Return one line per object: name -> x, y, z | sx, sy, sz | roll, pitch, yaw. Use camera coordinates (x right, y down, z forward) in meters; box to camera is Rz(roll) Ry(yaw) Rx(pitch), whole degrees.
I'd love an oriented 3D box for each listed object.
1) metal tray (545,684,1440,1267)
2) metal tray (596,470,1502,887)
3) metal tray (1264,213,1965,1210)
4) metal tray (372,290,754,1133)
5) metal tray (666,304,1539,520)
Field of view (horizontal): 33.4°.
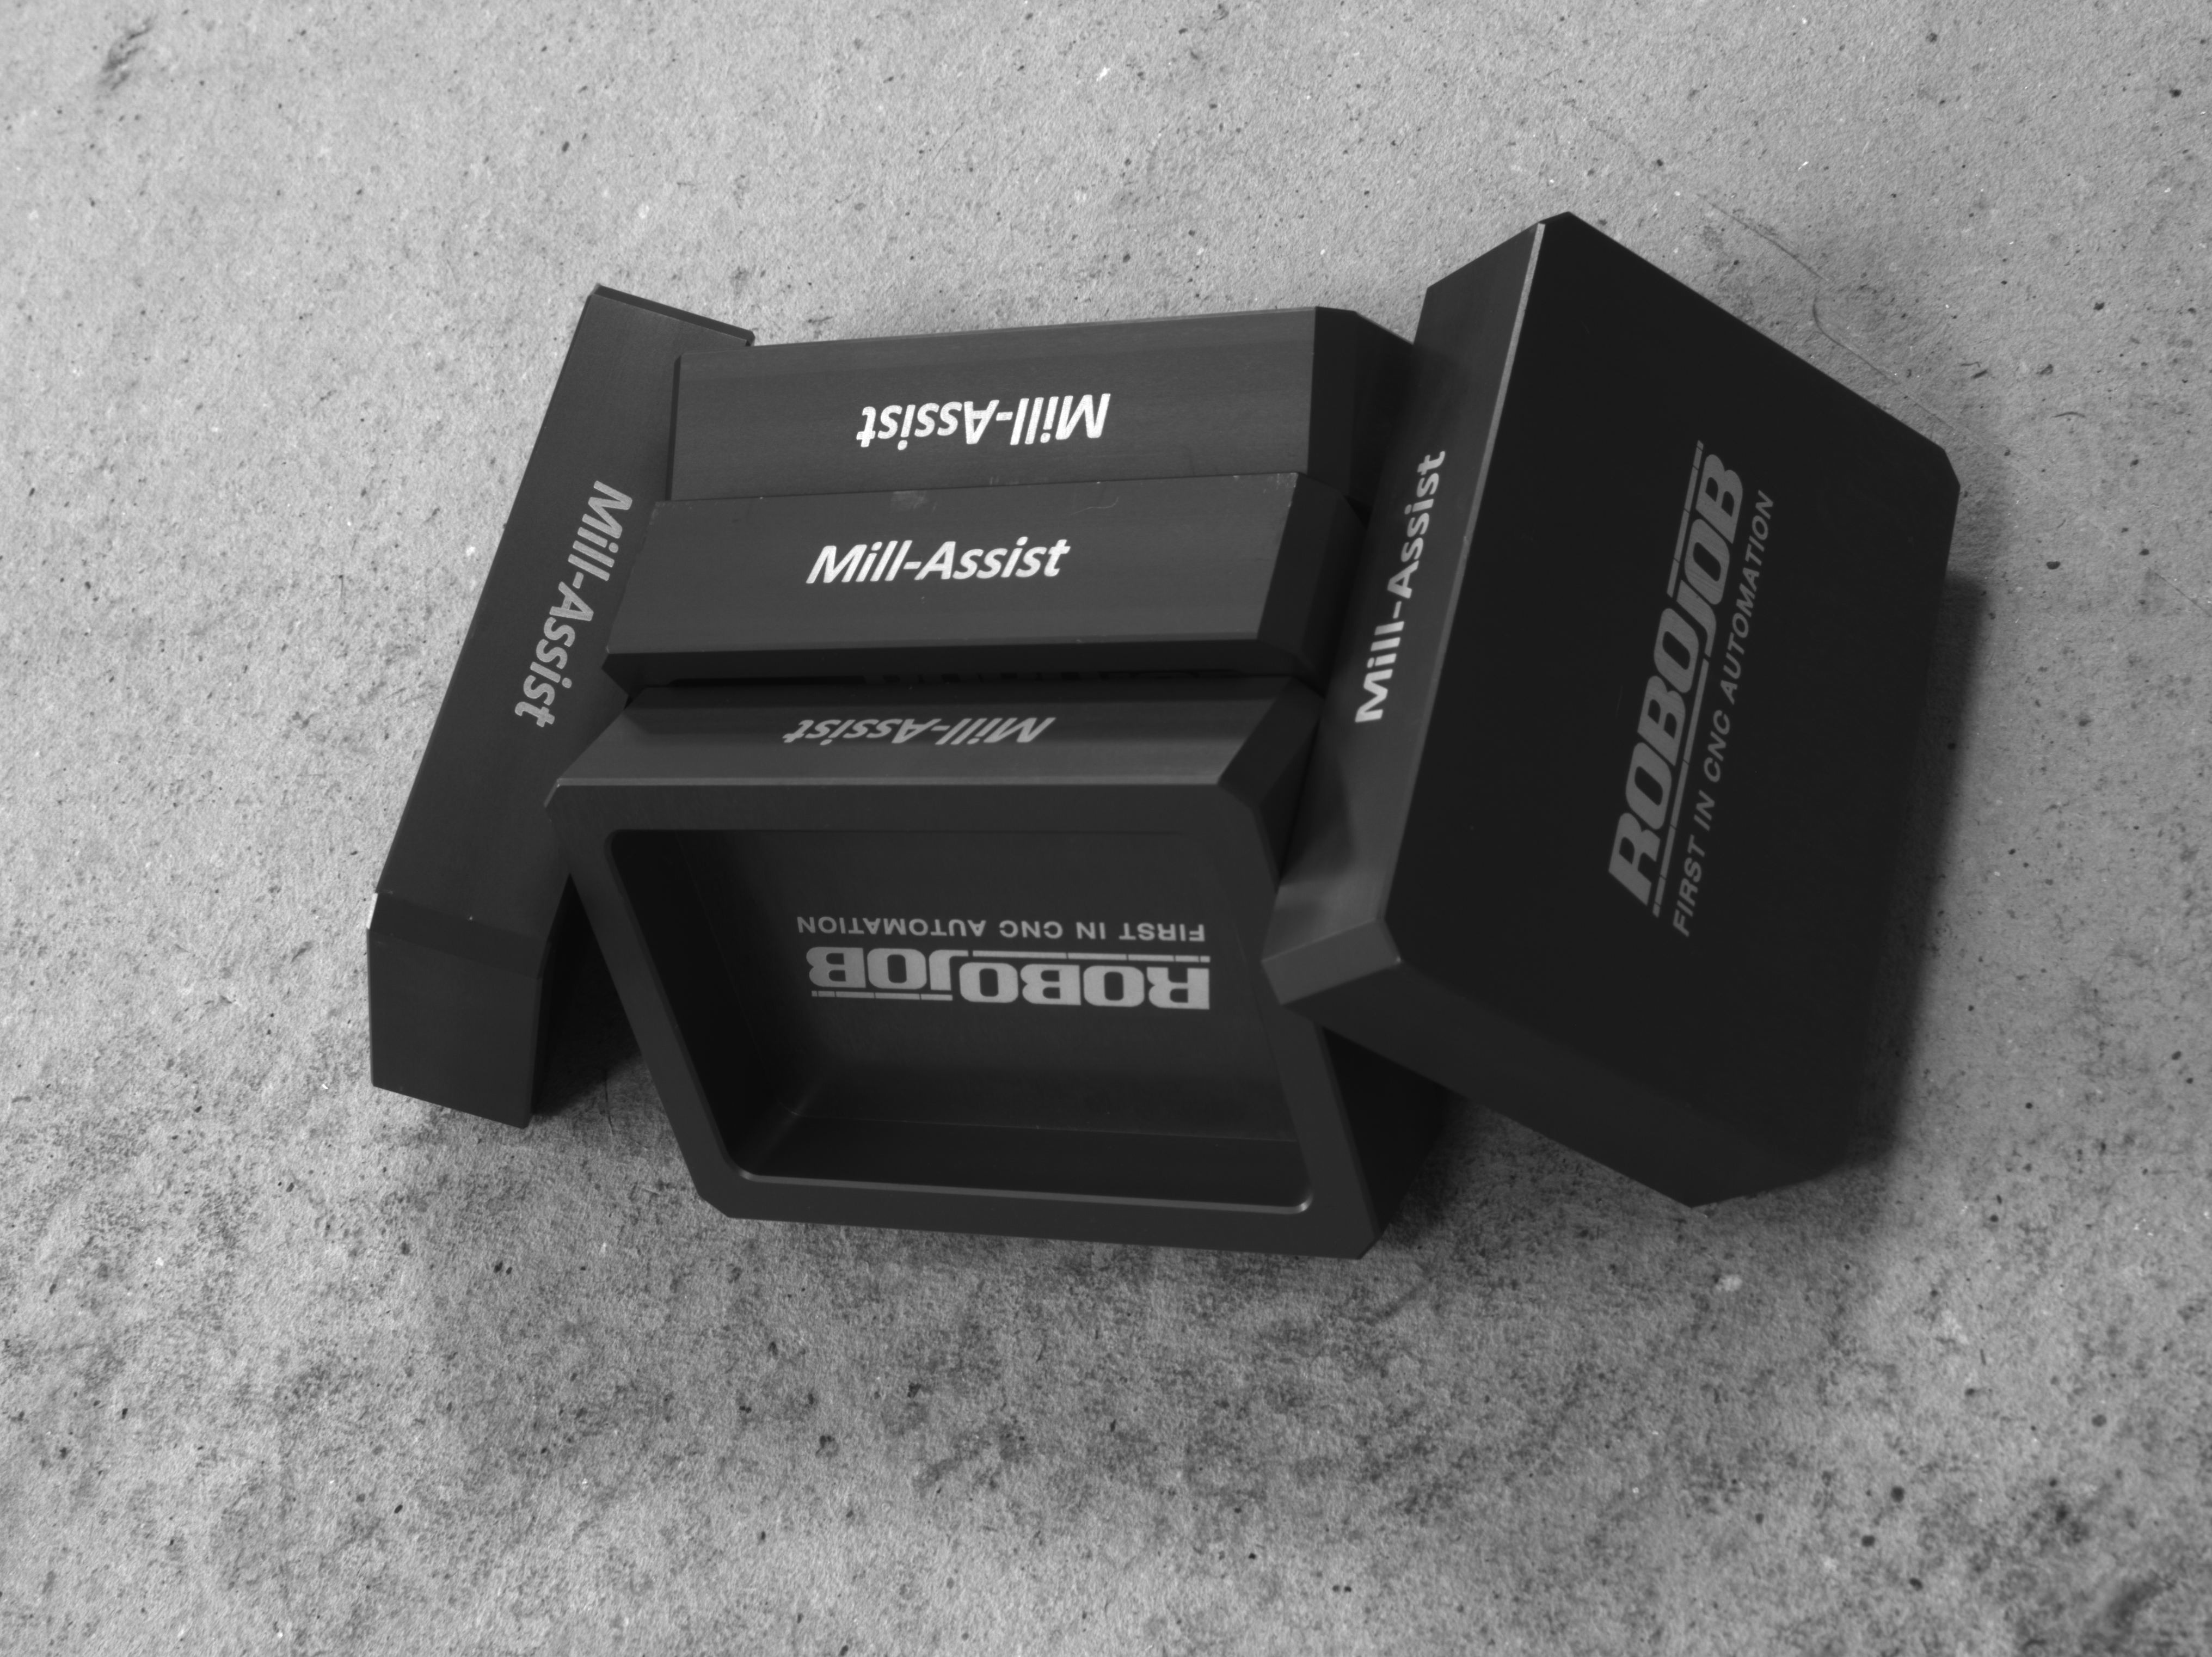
metal tray -> -0.019, 0.023, 0.598 | 0.130, 0.090, 0.030 | 1, 33, 29
metal tray -> -0.008, -0.021, 0.620 | 0.130, 0.090, 0.030 | 0, 62, 28
metal tray -> 0.082, -0.018, 0.569 | 0.030, 0.090, 0.130 | -25, 44, 55
metal tray -> -0.099, -0.020, 0.671 | 0.030, 0.090, 0.130 | 17, 65, -4
metal tray -> 0.001, -0.062, 0.638 | 0.130, 0.090, 0.030 | 0, 84, 29
